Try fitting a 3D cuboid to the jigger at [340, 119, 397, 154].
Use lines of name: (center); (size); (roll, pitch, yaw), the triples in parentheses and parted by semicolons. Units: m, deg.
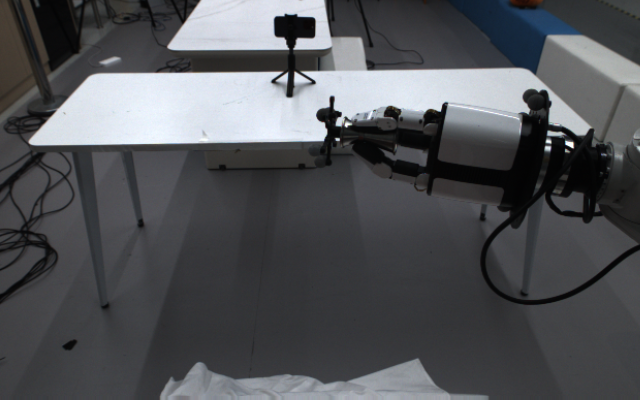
jigger: (0.069, -0.085, 0.605); (0.071, 0.043, 0.043); (7, 35, 12)
